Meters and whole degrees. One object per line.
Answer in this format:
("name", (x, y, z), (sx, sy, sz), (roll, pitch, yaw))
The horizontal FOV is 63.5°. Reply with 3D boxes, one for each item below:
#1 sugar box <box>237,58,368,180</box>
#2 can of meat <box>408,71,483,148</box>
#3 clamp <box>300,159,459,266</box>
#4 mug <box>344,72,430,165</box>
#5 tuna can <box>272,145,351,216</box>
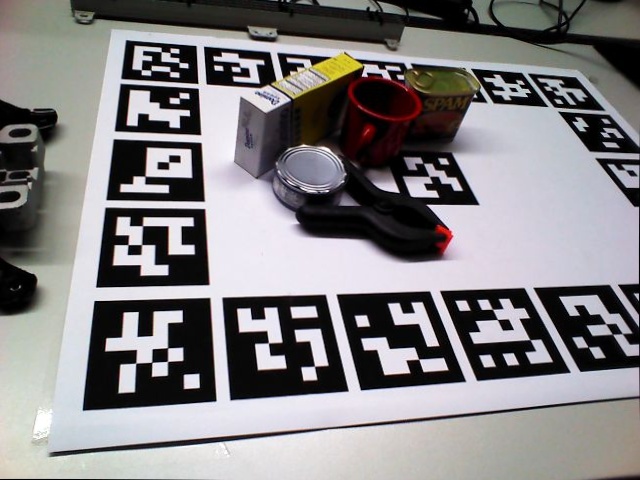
("sugar box", (-0.019, -0.148, 0.620), (0.045, 0.093, 0.175), (38, 50, 20))
("can of meat", (0.161, -0.173, 0.693), (0.101, 0.084, 0.057), (-7, 51, -21))
("clamp", (0.073, -0.021, 0.571), (0.165, 0.037, 0.121), (29, 45, 5))
("mug", (0.074, -0.139, 0.631), (0.093, 0.082, 0.116), (19, 50, 2))
("tuna can", (-0.011, -0.066, 0.582), (0.086, 0.034, 0.085), (7, 51, -9))
